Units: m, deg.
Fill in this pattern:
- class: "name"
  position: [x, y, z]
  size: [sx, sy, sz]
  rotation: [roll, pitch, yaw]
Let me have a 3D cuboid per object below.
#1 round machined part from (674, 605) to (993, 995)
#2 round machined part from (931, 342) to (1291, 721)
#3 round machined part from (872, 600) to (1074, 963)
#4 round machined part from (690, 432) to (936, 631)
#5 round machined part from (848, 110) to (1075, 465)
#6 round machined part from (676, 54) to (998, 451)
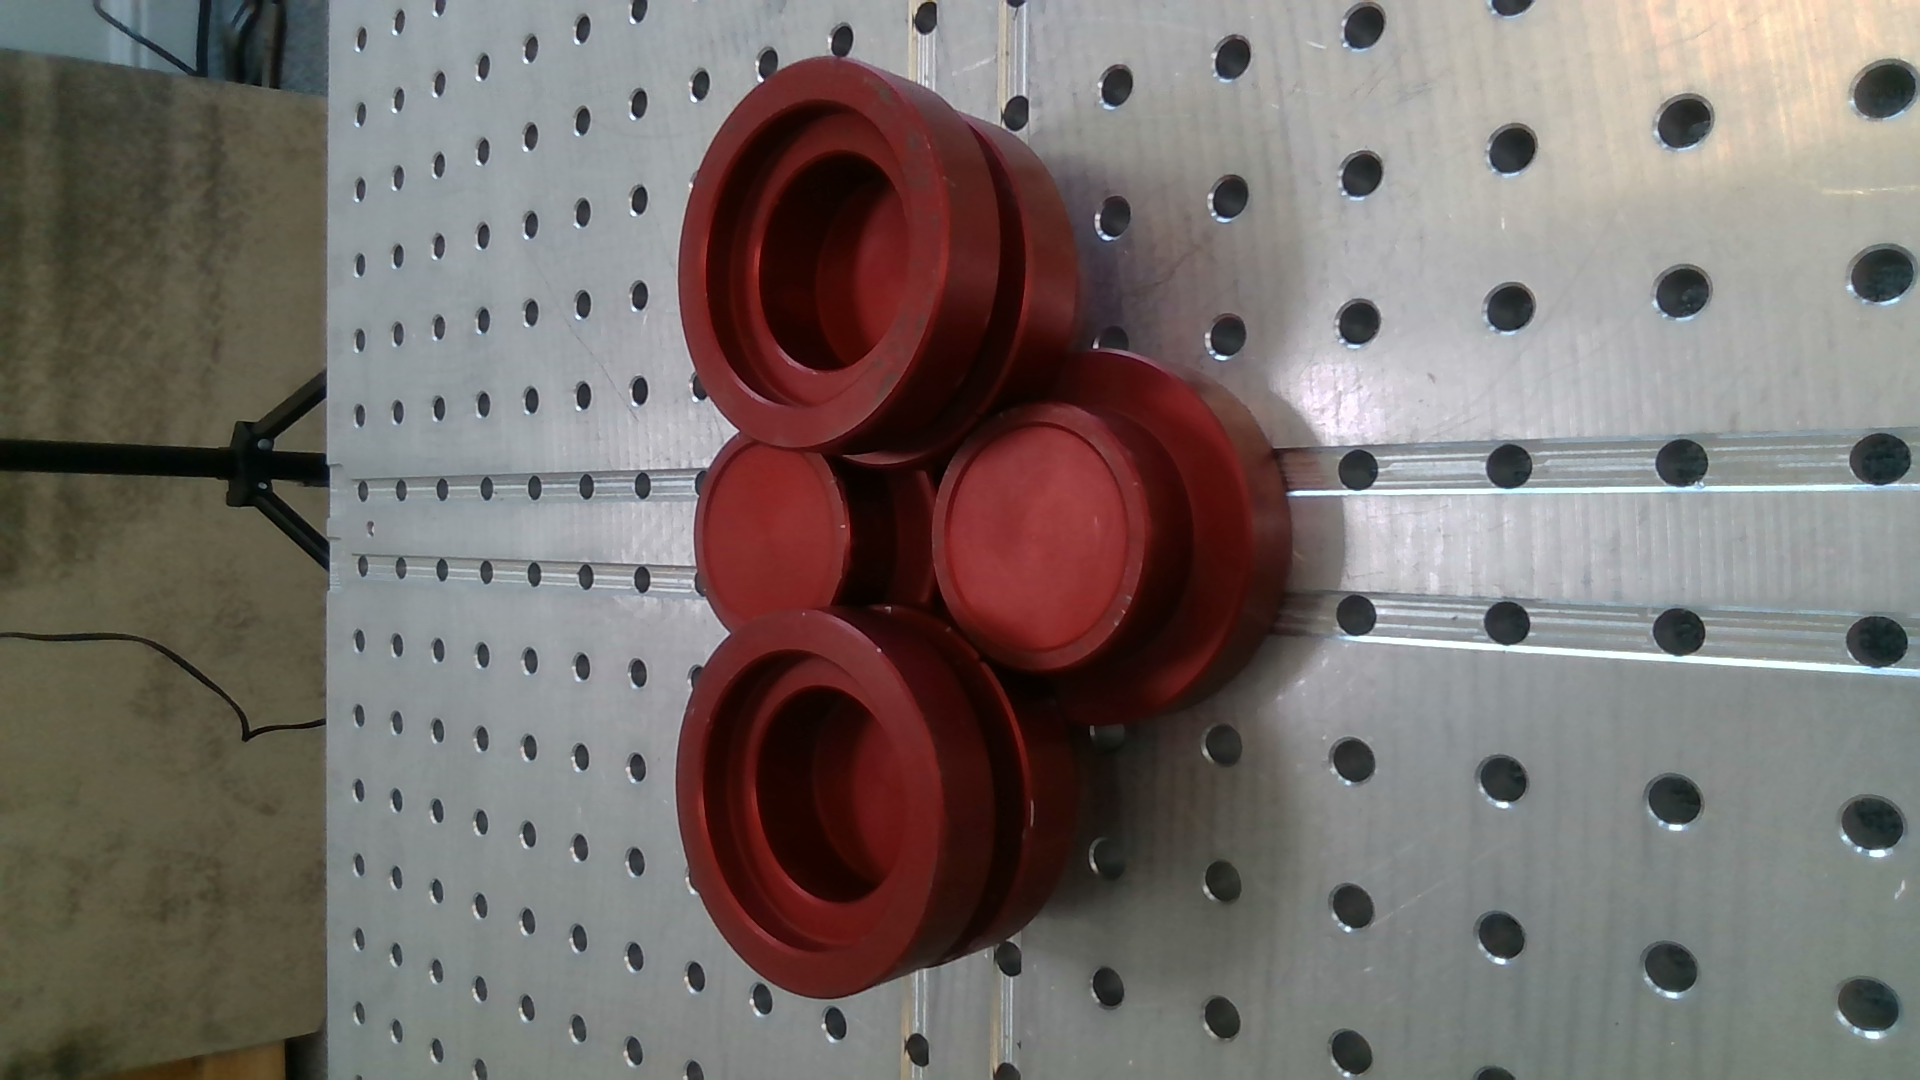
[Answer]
- class: "round machined part"
  position: [-0.029, 0.066, 0.365]
  size: [0.098, 0.042, 0.098]
  rotation: [0, 91, 40]
- class: "round machined part"
  position: [0.031, -0.002, 0.355]
  size: [0.098, 0.042, 0.098]
  rotation: [0, 91, 40]
- class: "round machined part"
  position: [-0.007, 0.066, 0.388]
  size: [0.098, 0.042, 0.098]
  rotation: [0, 91, 40]
- class: "round machined part"
  position: [-0.045, -0.002, 0.419]
  size: [0.098, 0.042, 0.098]
  rotation: [0, 91, 40]
- class: "round machined part"
  position: [-0.007, -0.070, 0.387]
  size: [0.098, 0.042, 0.098]
  rotation: [0, 91, 40]
- class: "round machined part"
  position: [-0.028, -0.072, 0.362]
  size: [0.098, 0.042, 0.098]
  rotation: [0, 91, 40]
